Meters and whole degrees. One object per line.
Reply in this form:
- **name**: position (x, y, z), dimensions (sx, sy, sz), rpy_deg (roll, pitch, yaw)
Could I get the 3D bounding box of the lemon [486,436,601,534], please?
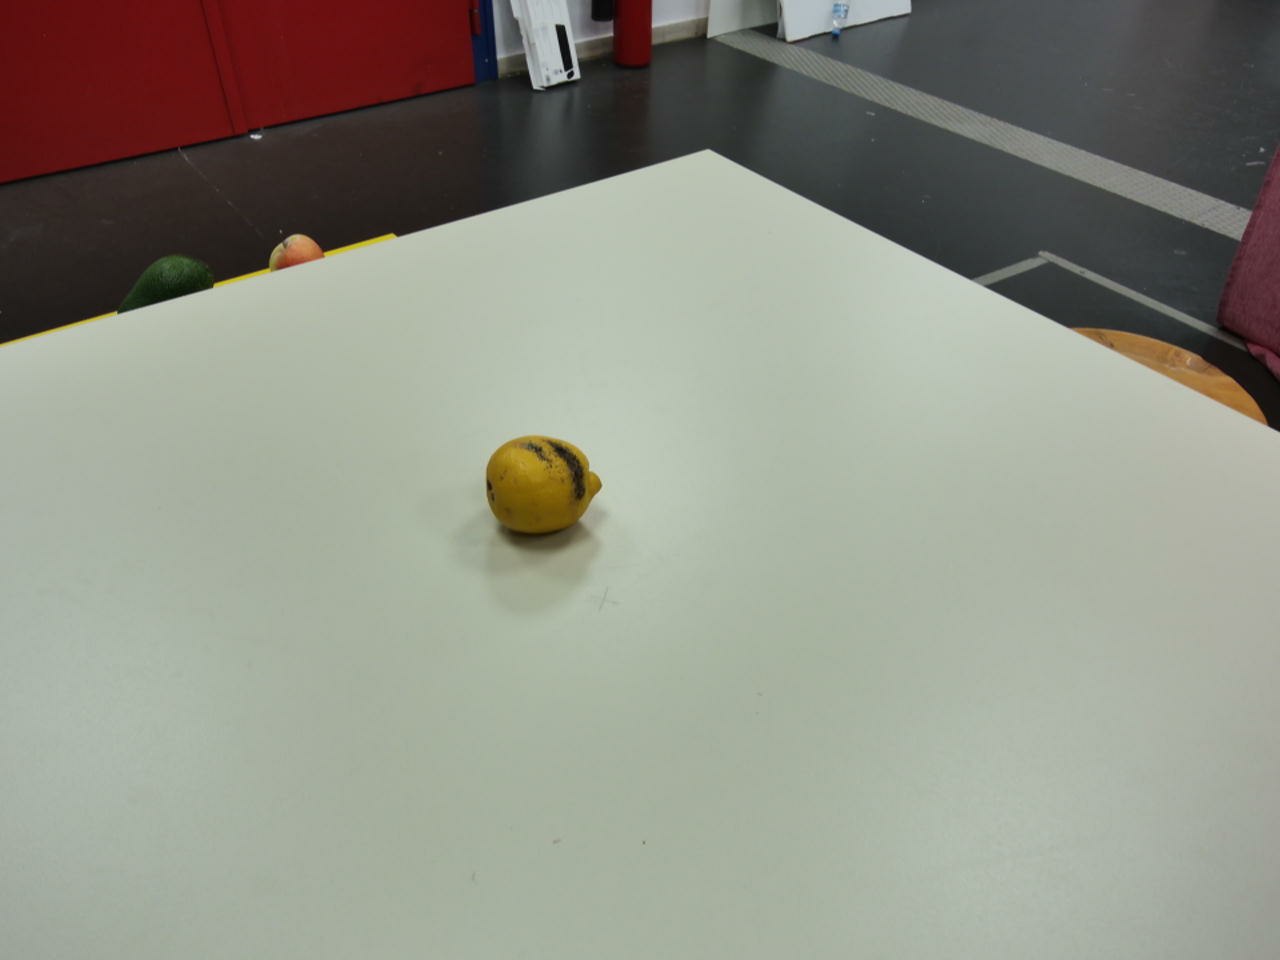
- **lemon**: position (-0.058, 0.002, 0.570), dimensions (0.061, 0.056, 0.058), rpy_deg (-31, 48, -34)
